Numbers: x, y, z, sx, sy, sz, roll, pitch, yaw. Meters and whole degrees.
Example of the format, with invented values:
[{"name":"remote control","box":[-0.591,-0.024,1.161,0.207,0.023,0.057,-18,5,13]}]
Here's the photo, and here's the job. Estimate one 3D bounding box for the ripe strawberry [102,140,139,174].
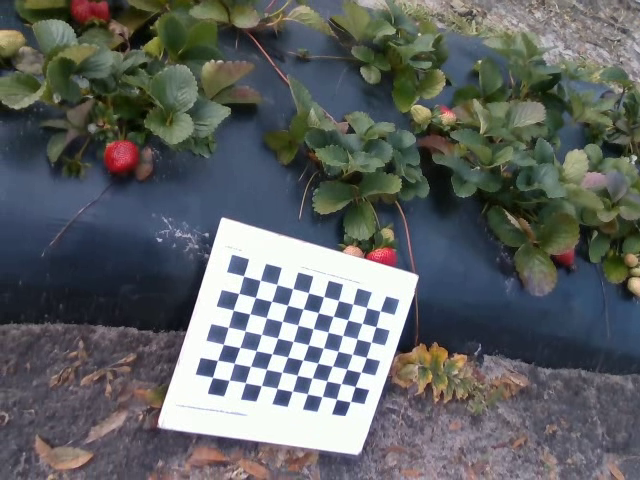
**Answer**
[{"name":"ripe strawberry","box":[-0.264,-0.109,0.812,0.050,0.049,0.053,9,23,-25]}]
